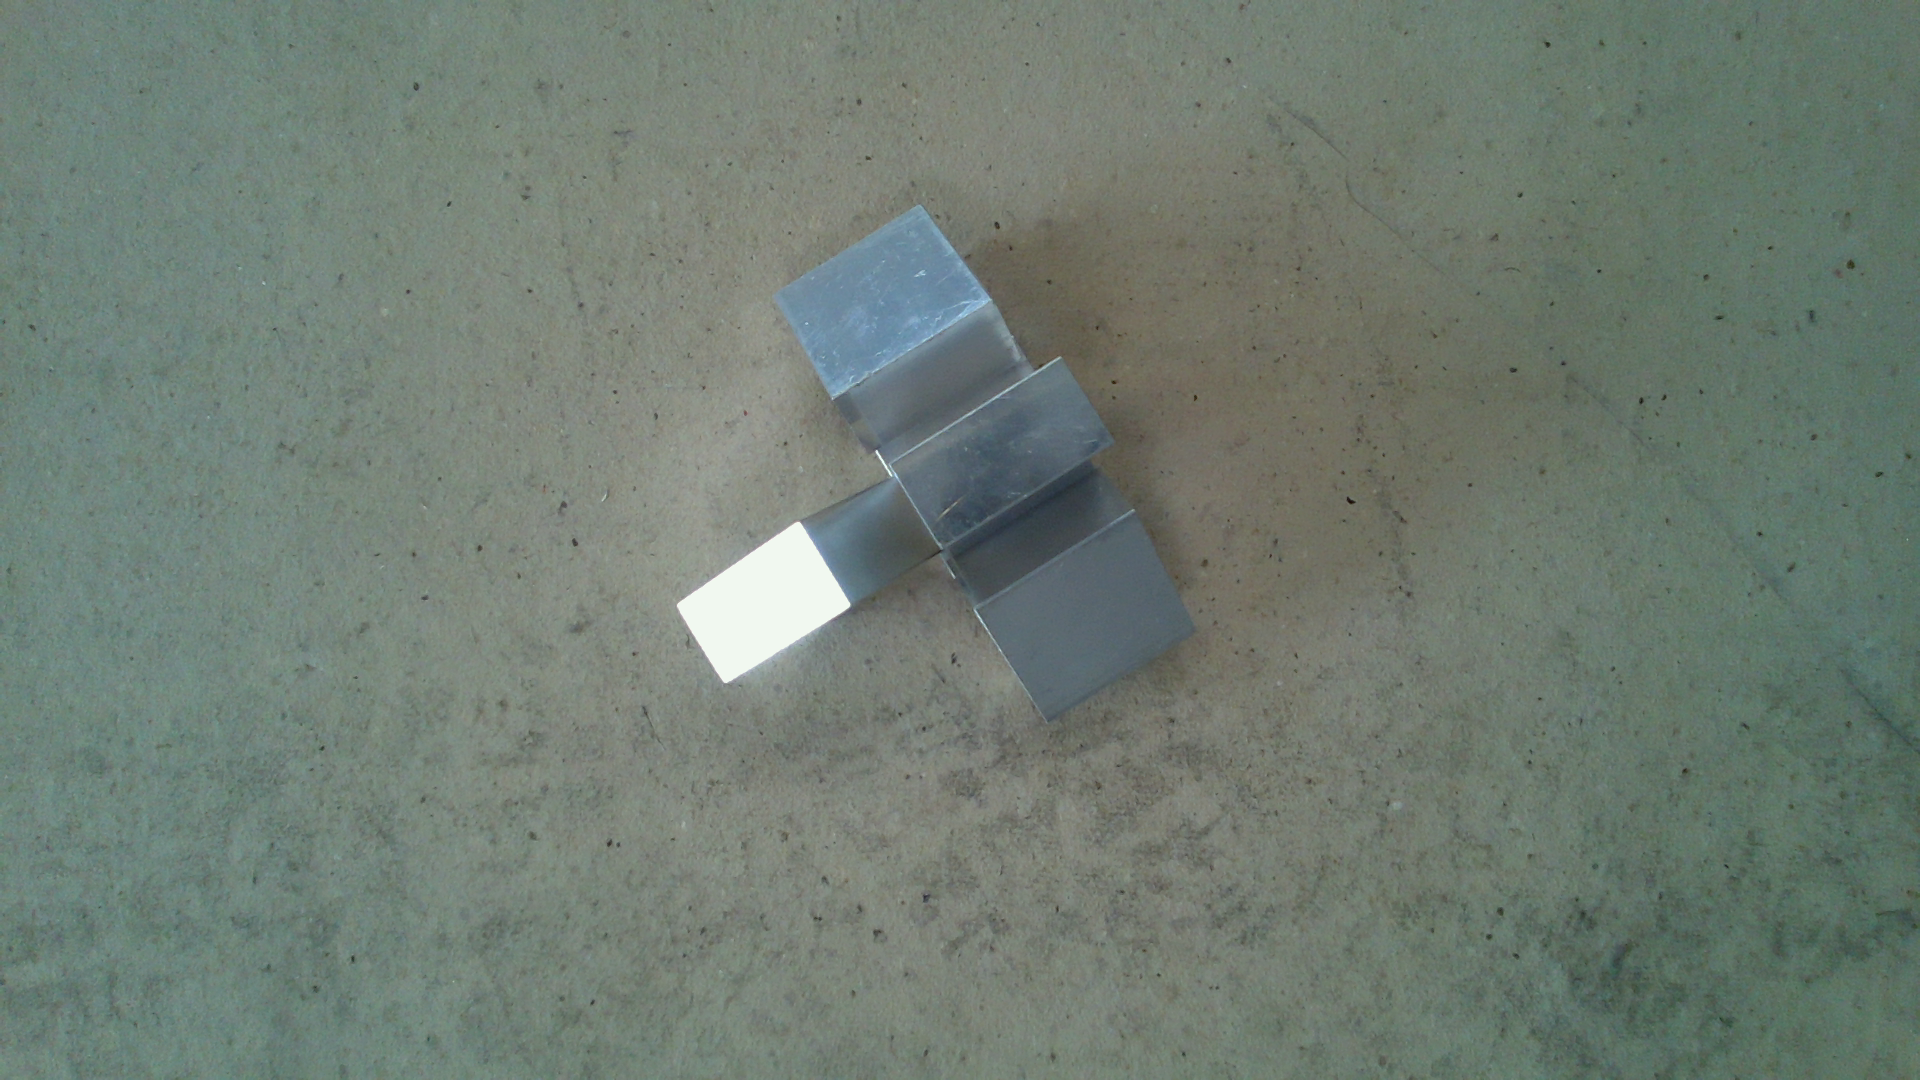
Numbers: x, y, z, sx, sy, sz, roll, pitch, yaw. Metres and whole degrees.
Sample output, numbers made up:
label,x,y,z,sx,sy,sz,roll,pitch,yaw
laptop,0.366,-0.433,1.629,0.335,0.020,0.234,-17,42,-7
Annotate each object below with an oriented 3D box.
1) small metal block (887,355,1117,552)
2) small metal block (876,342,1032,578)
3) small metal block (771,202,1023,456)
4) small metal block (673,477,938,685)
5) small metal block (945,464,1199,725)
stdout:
label,x,y,z,sx,sy,sz,roll,pitch,yaw
small metal block,0.010,-0.021,0.358,0.050,0.050,0.025,-32,91,0
small metal block,0.006,-0.024,0.396,0.050,0.025,0.050,-32,90,2
small metal block,-0.018,-0.059,0.383,0.050,0.025,0.050,-32,50,1
small metal block,-0.040,0.010,0.374,0.050,0.050,0.025,-31,91,32
small metal block,0.032,0.016,0.383,0.050,0.025,0.050,-32,126,0
